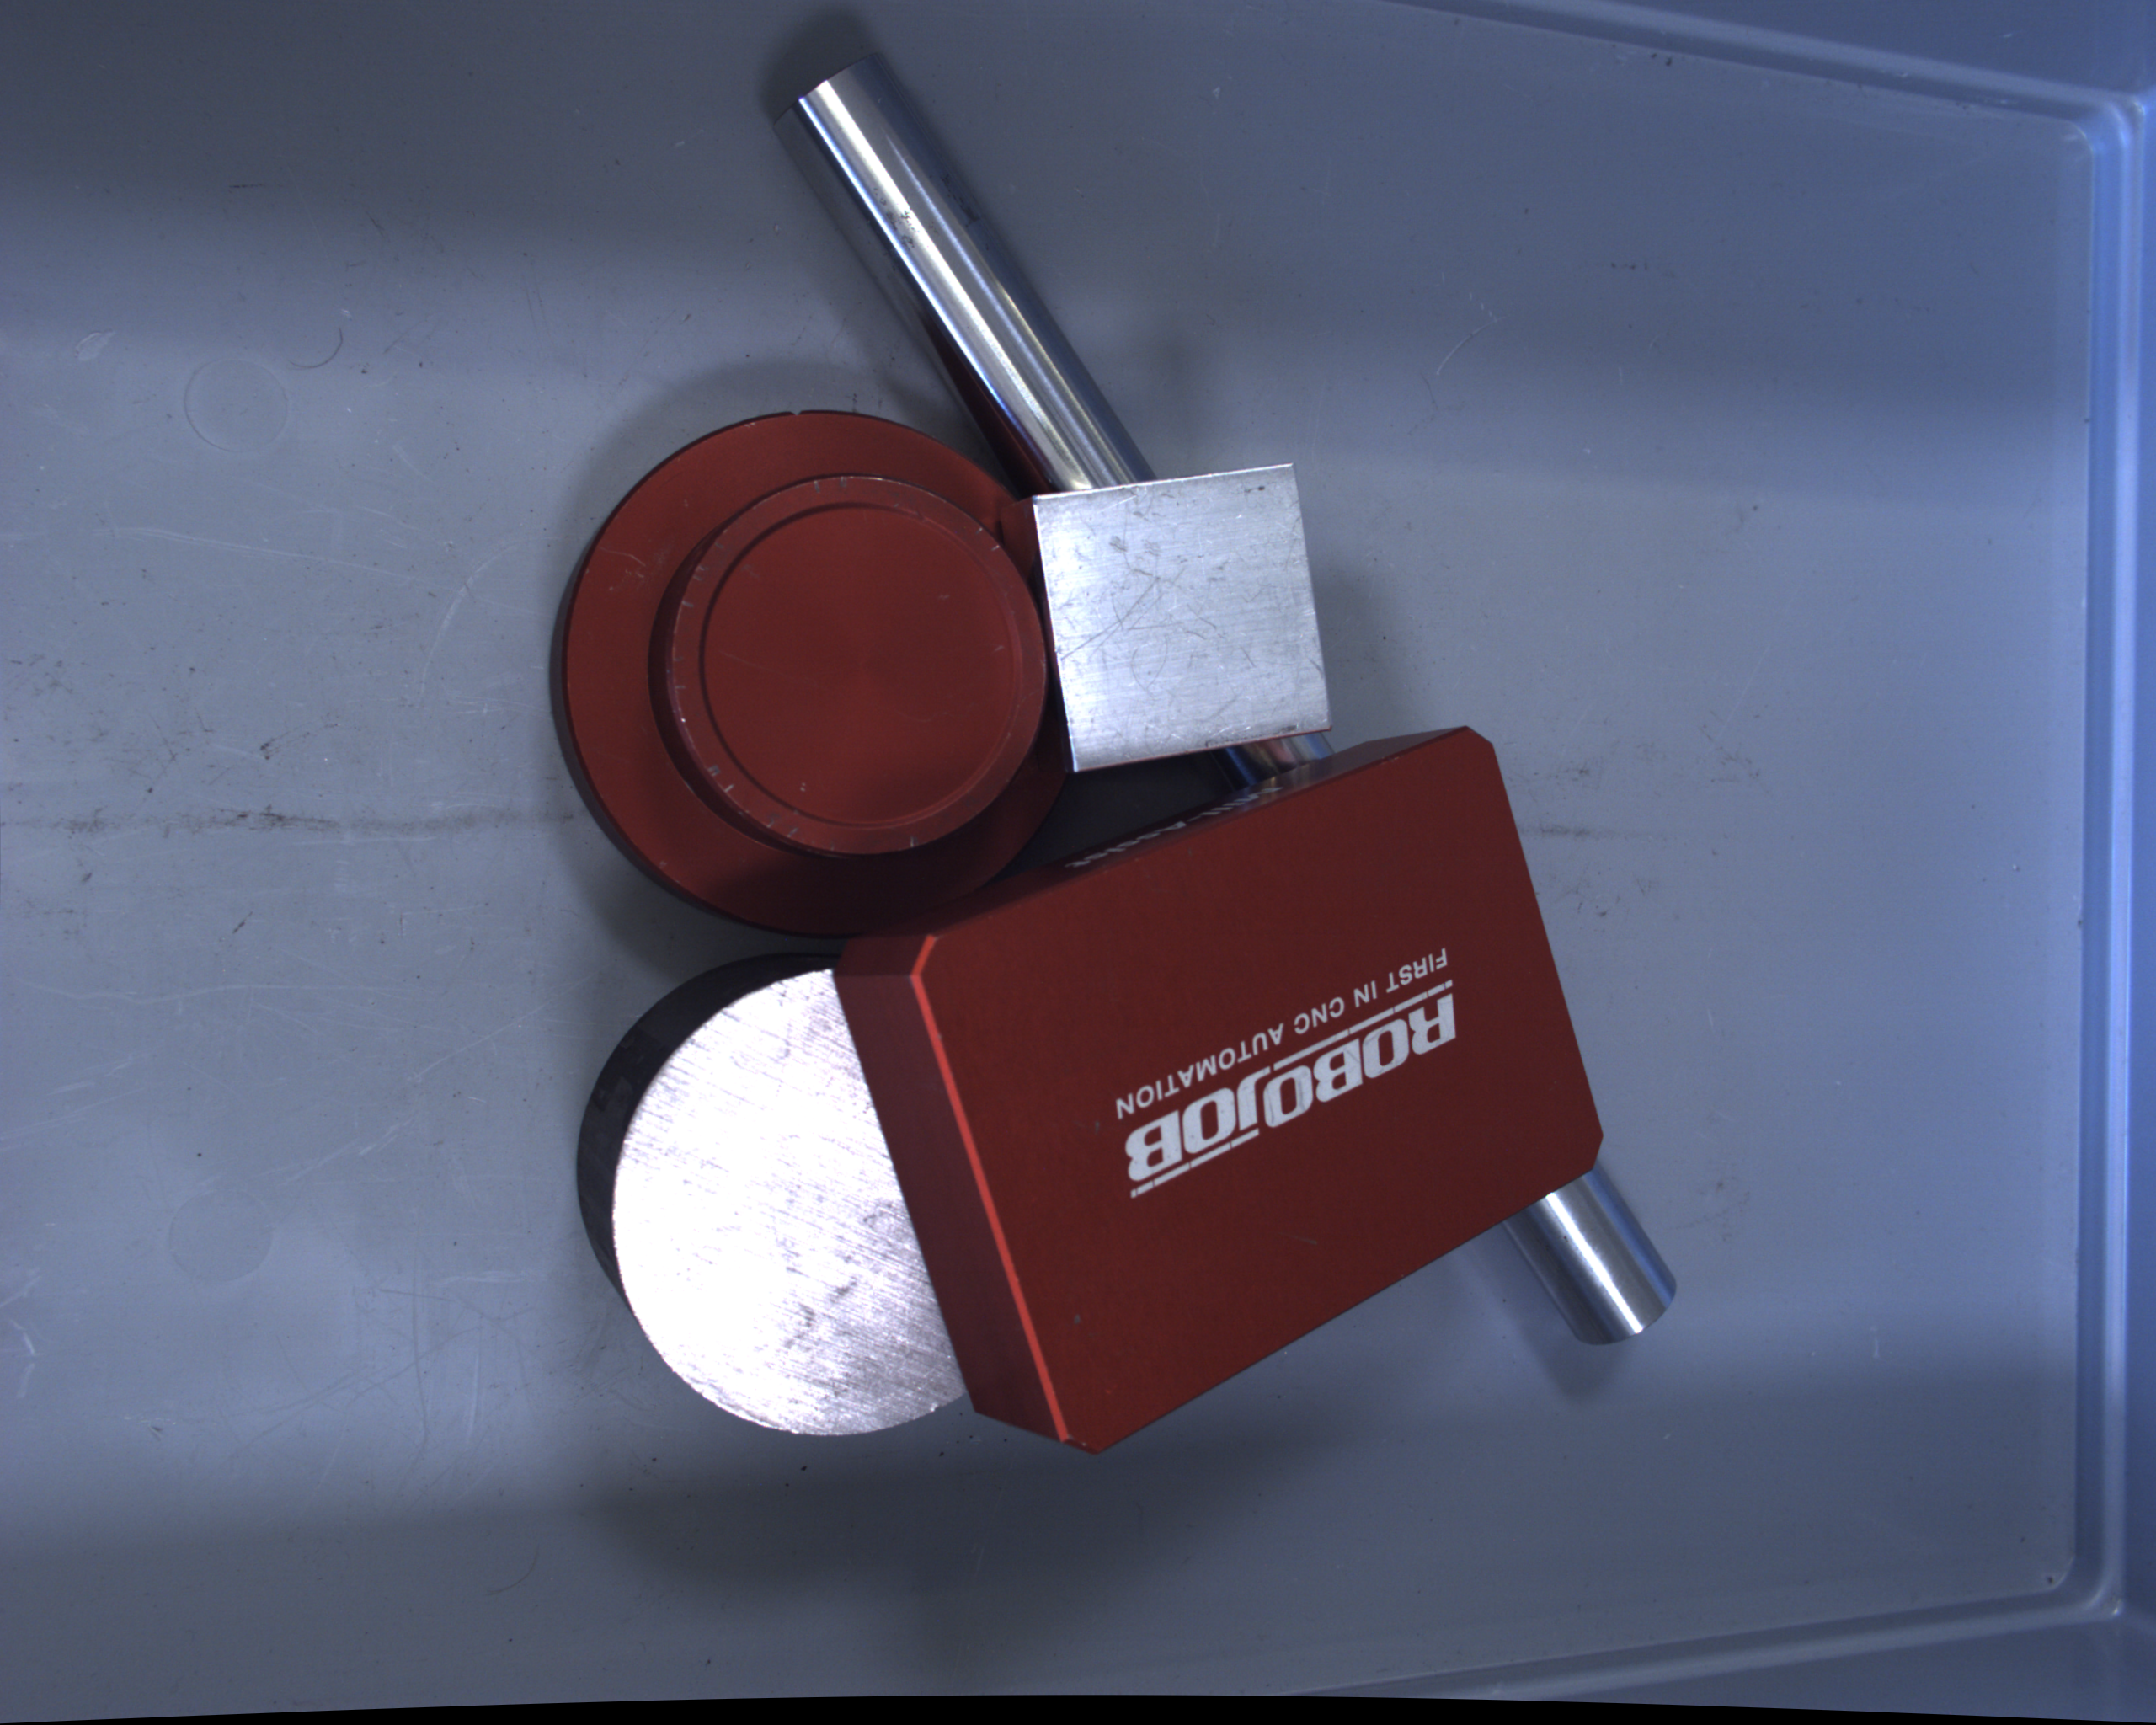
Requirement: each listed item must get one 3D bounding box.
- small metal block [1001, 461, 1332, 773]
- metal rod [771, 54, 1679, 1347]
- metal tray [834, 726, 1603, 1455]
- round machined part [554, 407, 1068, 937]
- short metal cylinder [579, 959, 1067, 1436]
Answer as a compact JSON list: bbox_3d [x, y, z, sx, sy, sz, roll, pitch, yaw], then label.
[{"bbox_3d":[0.016,-0.046,0.390,0.050,0.025,0.050,-10,96,-15],"label":"small metal block"},{"bbox_3d":[0.036,-0.024,0.422,0.025,0.025,0.299,-38,102,-16],"label":"metal rod"},{"bbox_3d":[0.030,0.036,0.377,0.131,0.030,0.089,-21,98,-32],"label":"metal tray"},{"bbox_3d":[-0.044,-0.035,0.382,0.099,0.042,0.097,0,90,-19],"label":"round machined part"},{"bbox_3d":[-0.047,0.057,0.378,0.081,0.050,0.079,0,90,-20],"label":"short metal cylinder"}]
